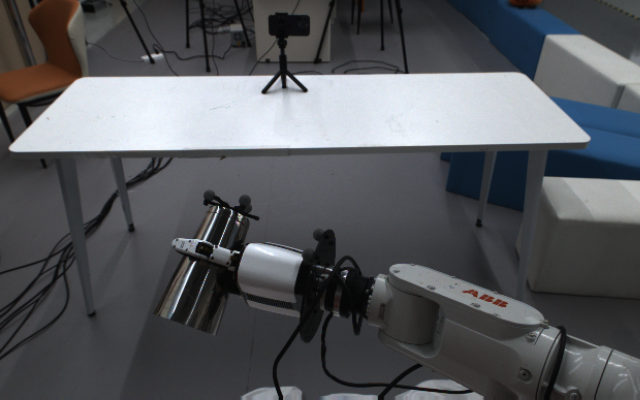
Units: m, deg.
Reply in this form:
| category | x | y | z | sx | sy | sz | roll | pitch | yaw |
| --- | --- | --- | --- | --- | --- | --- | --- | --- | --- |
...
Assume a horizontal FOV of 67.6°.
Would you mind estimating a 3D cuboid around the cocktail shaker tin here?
| category | x | y | z | sx | sy | sz | roll | pitch | yaw |
| --- | --- | --- | --- | --- | --- | --- | --- | --- | --- |
| cocktail shaker tin | -0.164 | 0.098 | 0.698 | 0.093 | 0.093 | 0.170 | 14 | 69 | 16 |
